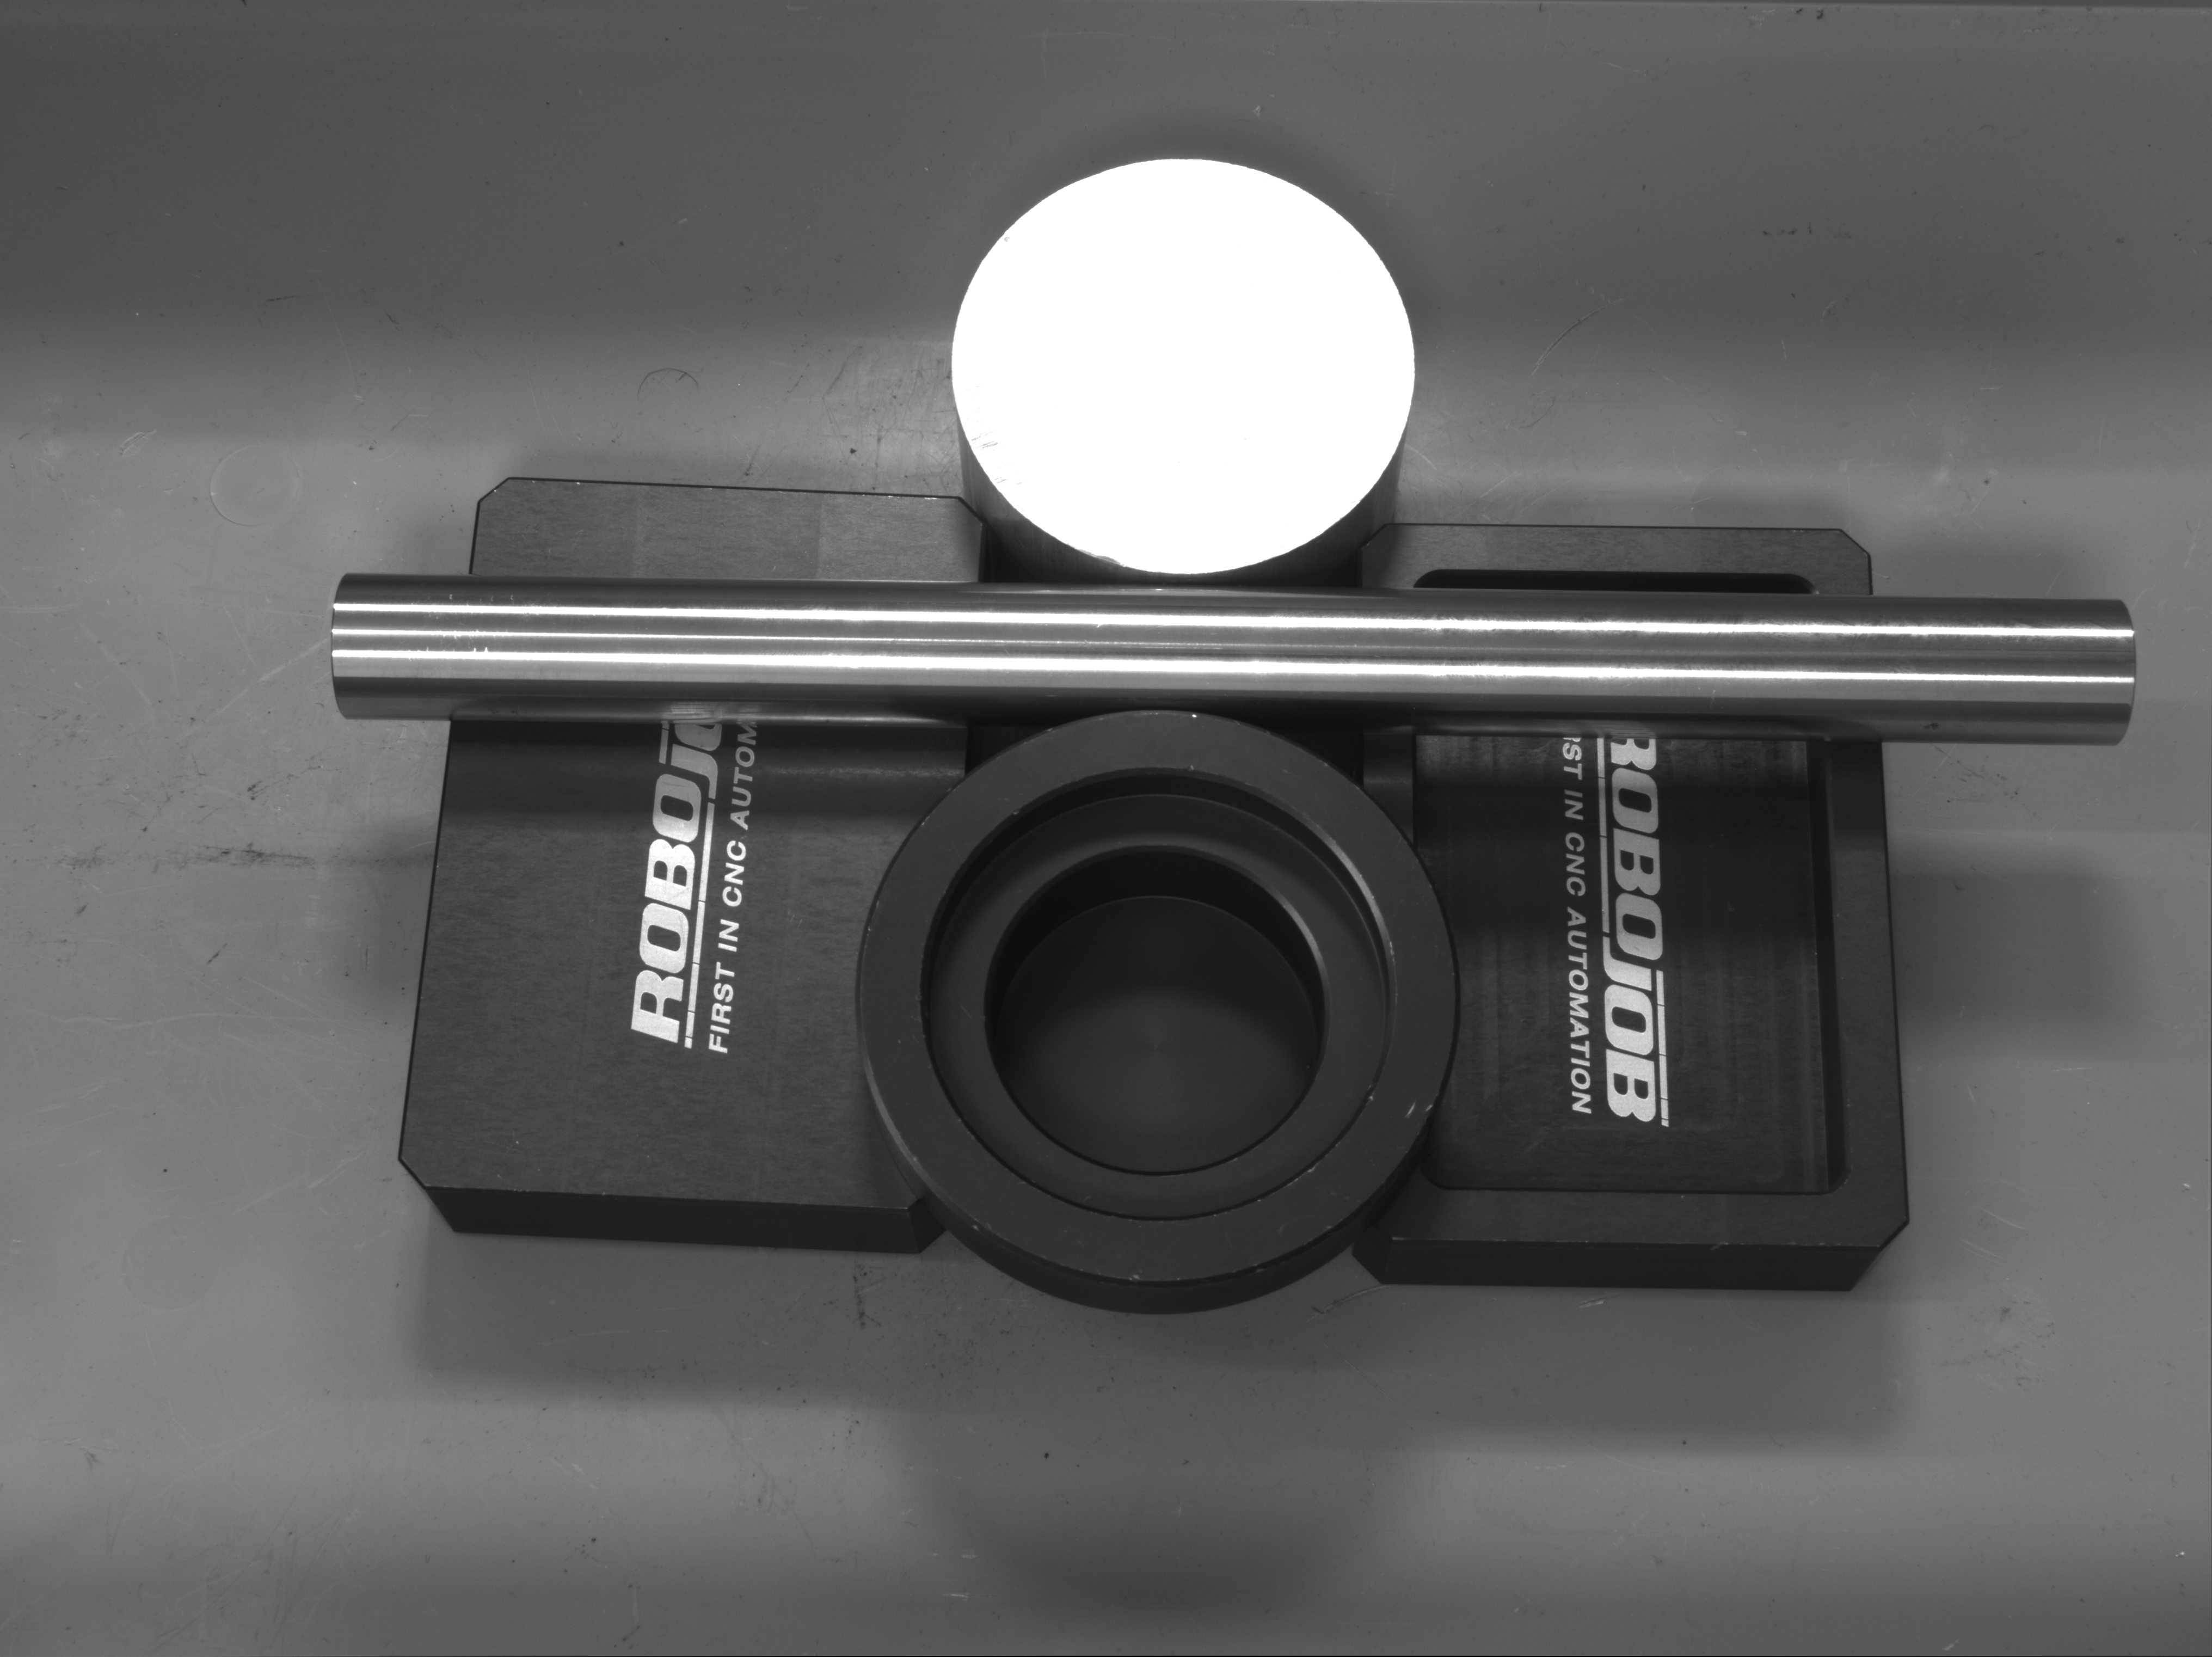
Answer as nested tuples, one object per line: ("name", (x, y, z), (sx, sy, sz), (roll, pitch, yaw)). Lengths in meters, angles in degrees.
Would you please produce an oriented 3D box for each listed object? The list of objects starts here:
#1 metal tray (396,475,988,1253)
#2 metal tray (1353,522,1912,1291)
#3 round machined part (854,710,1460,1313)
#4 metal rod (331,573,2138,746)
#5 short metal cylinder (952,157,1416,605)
("metal tray", (-0.069, 0.005, 0.638), (0.090, 0.030, 0.130), (3, 70, 1))
("metal tray", (0.088, 0.013, 0.636), (0.090, 0.030, 0.130), (1, 70, 0))
("round machined part", (0.008, 0.033, 0.613), (0.098, 0.042, 0.098), (0, 70, 0))
("metal rod", (0.021, -0.029, 0.622), (0.300, 0.025, 0.025), (1, 70, 0))
("short metal cylinder", (0.014, -0.072, 0.657), (0.080, 0.050, 0.080), (0, 70, 0))
